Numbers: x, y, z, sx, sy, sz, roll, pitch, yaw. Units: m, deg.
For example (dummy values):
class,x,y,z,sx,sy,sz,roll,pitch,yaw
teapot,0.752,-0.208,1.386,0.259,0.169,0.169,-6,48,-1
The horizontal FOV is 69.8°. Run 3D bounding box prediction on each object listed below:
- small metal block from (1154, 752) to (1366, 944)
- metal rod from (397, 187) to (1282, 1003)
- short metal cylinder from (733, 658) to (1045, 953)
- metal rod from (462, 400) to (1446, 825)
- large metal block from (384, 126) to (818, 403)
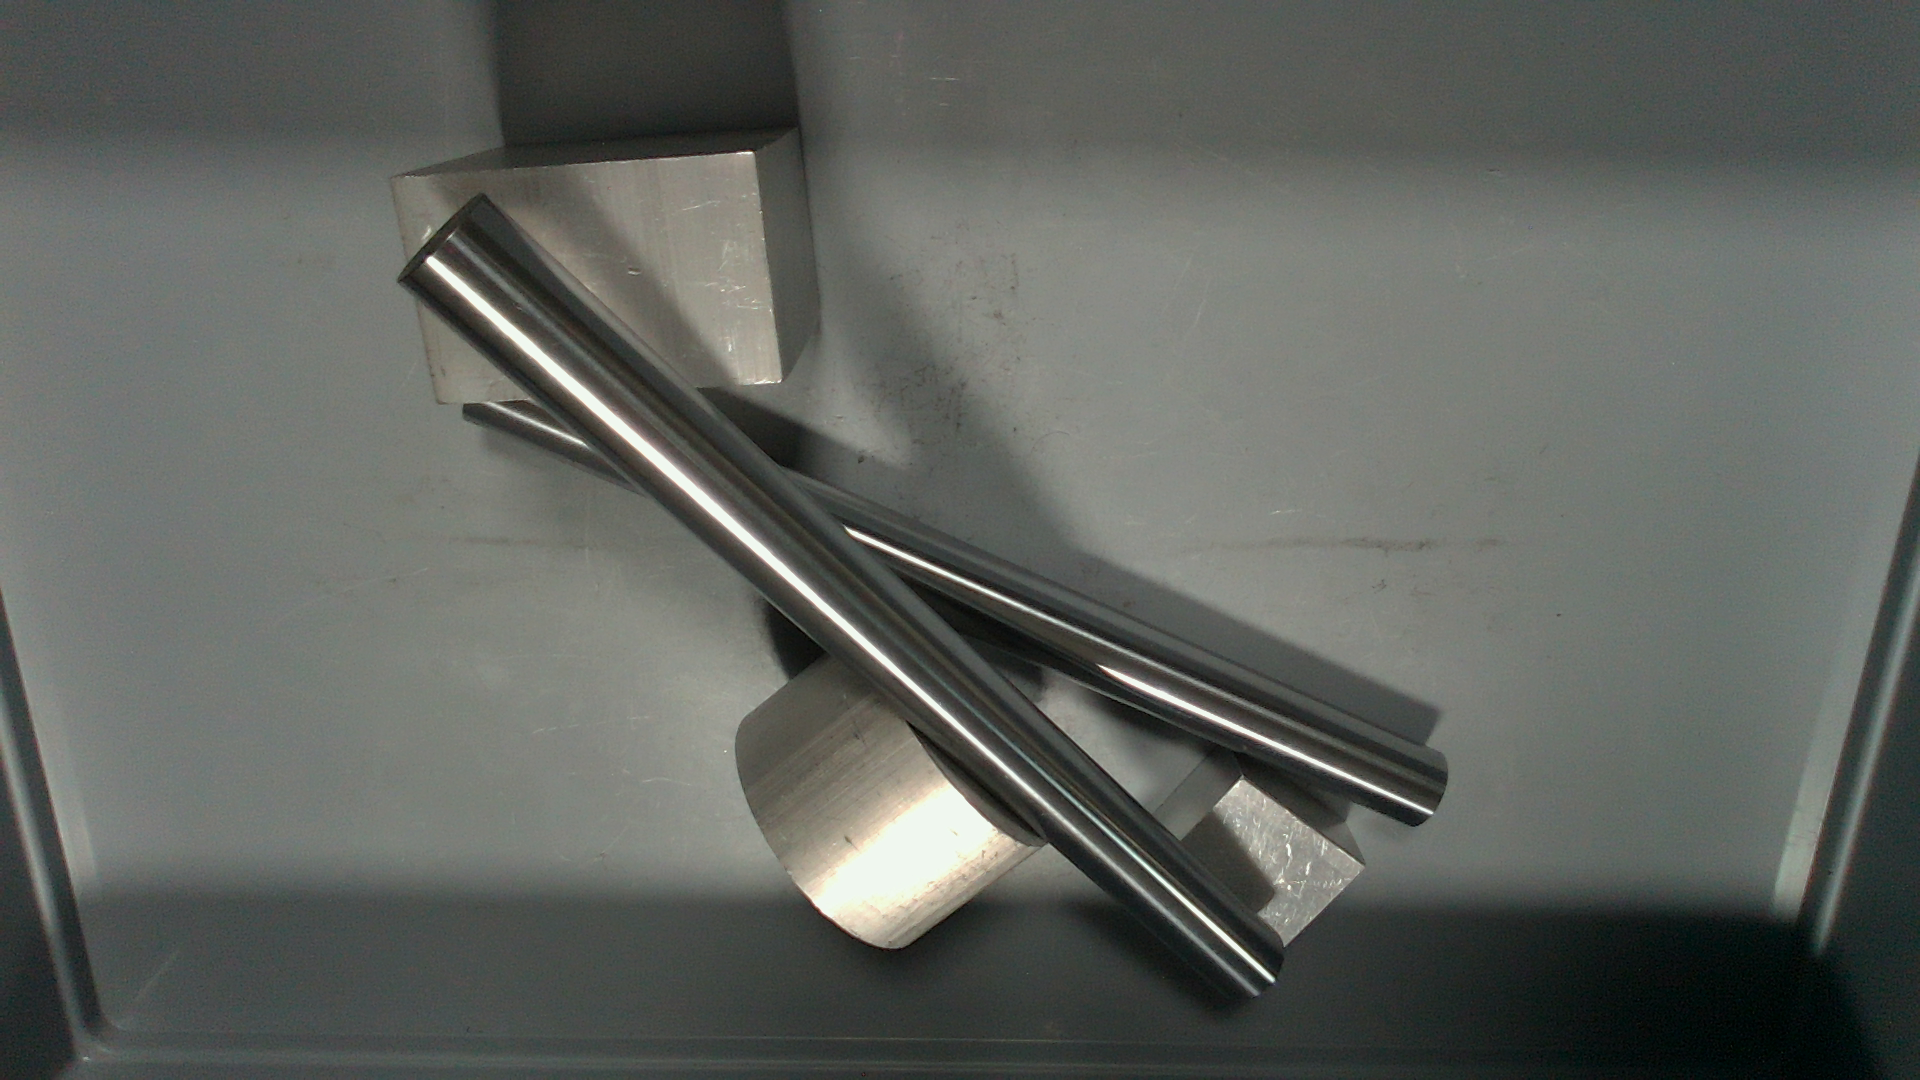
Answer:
class,x,y,z,sx,sy,sz,roll,pitch,yaw
small metal block,0.088,0.099,0.430,0.050,0.025,0.050,36,106,-12
metal rod,-0.009,0.033,0.343,0.025,0.025,0.301,-38,118,13
short metal cylinder,-0.018,0.067,0.387,0.050,0.080,0.080,-38,106,13
metal rod,0.005,0.016,0.399,0.300,0.025,0.025,24,108,-9
large metal block,-0.081,-0.071,0.338,0.080,0.080,0.050,-4,110,1
